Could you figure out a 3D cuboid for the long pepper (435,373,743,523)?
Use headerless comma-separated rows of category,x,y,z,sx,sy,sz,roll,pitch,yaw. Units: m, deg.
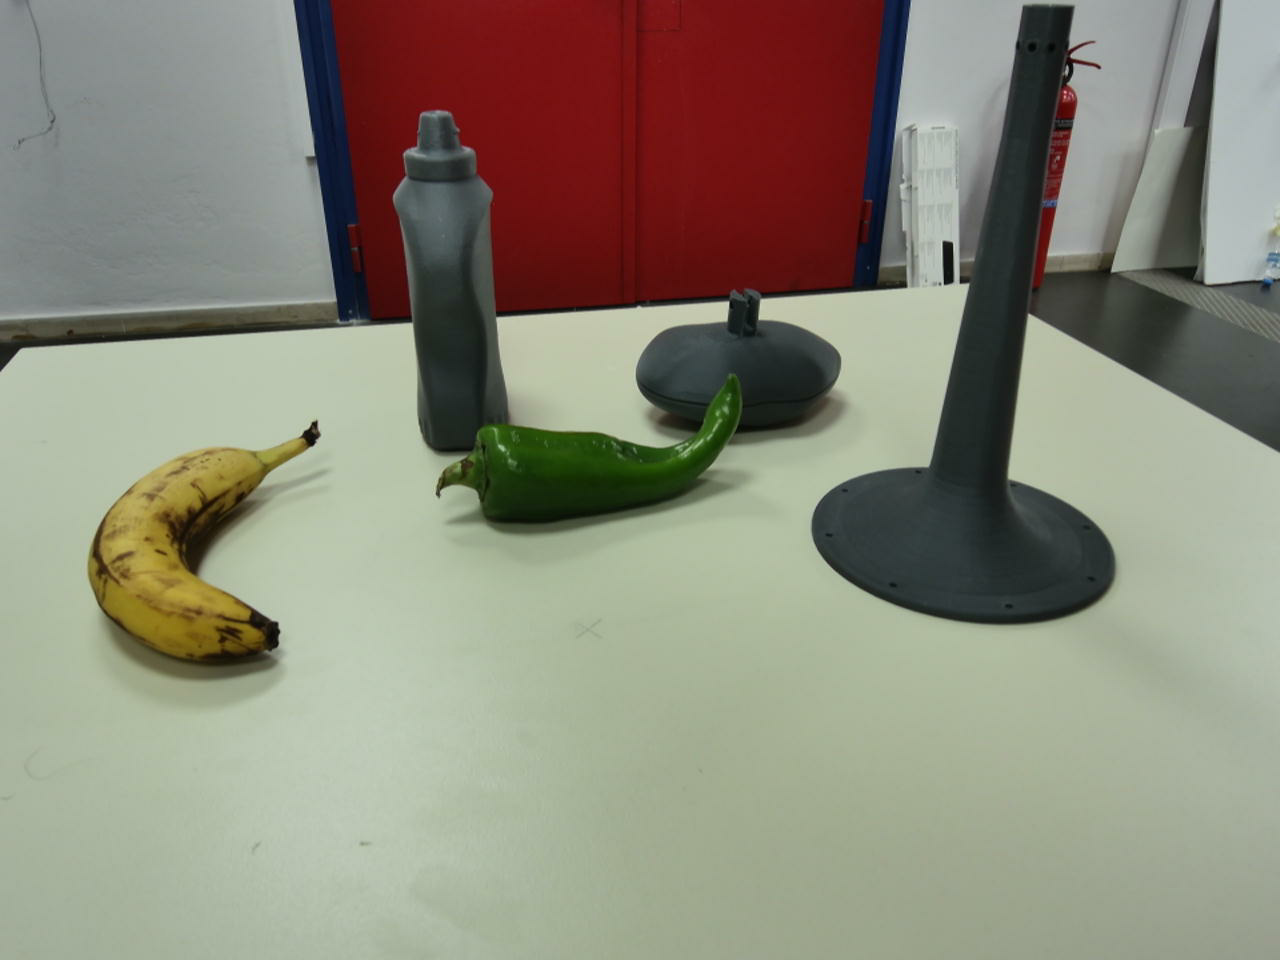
long pepper,-0.024,-0.016,0.544,0.175,0.065,0.058,-7,27,-13
